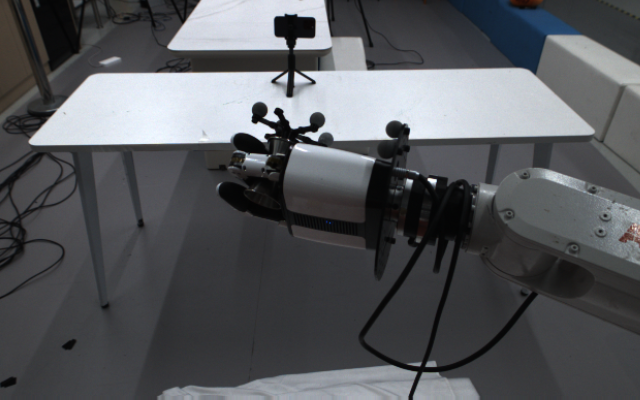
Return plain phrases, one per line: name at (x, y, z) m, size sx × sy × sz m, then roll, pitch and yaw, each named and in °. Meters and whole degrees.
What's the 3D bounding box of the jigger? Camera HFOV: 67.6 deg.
jigger at (-0.046, -0.029, 0.523) m, size 0.043 × 0.043 × 0.071 m, roll 13°, pitch 70°, yaw 16°
